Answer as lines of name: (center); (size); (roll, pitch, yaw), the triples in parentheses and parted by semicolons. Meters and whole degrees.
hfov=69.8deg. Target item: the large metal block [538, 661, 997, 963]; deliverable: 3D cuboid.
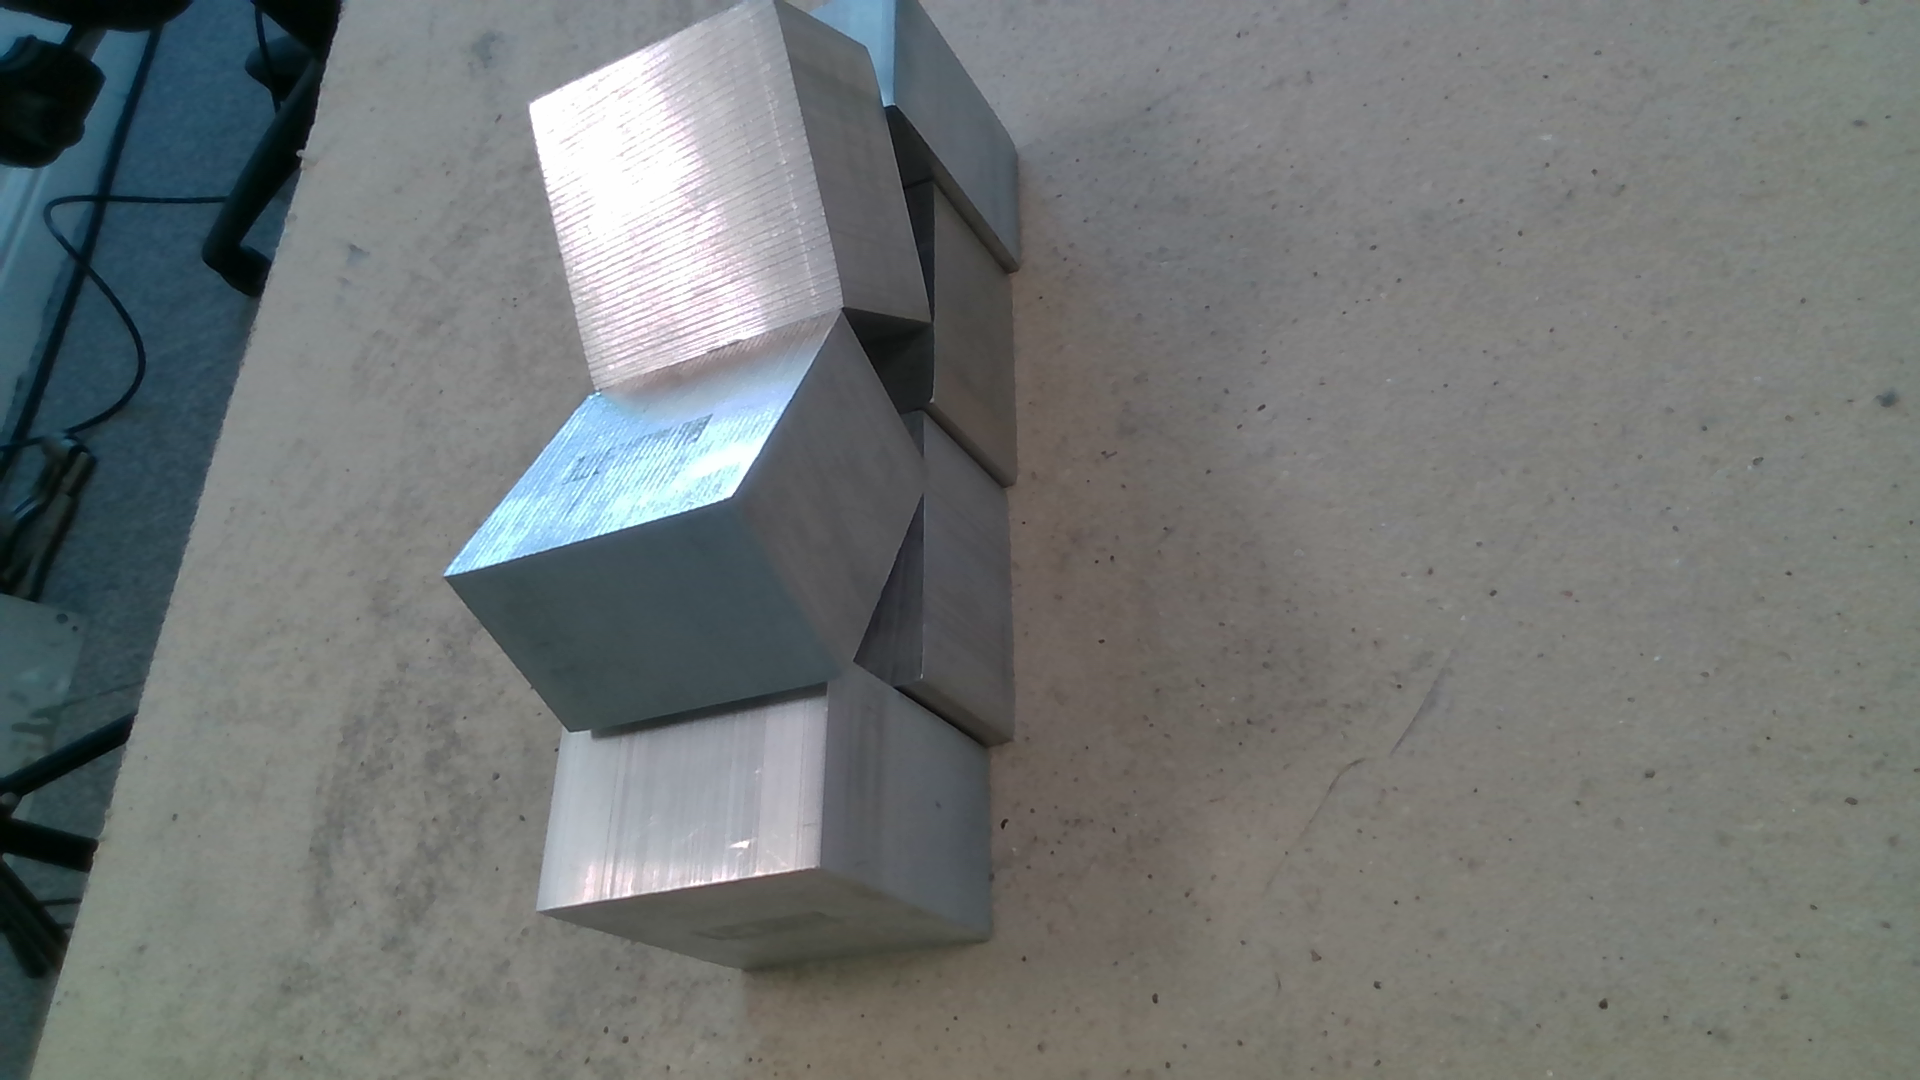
large metal block: (-0.045, 0.072, 0.349); (0.080, 0.080, 0.050); (-15, 59, 25)

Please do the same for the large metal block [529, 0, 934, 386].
large metal block: (-0.062, -0.088, 0.376); (0.080, 0.050, 0.080); (-14, 88, 25)

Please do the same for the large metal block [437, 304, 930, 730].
large metal block: (-0.063, -0.006, 0.334); (0.080, 0.050, 0.080); (-13, 33, 25)

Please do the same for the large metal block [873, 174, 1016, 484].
large metal block: (-0.031, -0.053, 0.423); (0.080, 0.050, 0.080); (-14, 59, 25)

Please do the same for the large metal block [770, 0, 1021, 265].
large metal block: (-0.034, -0.120, 0.441); (0.080, 0.080, 0.050); (-14, 58, 24)

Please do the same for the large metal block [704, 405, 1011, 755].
large metal block: (-0.033, 0.018, 0.386); (0.080, 0.050, 0.080); (-14, 59, 25)
